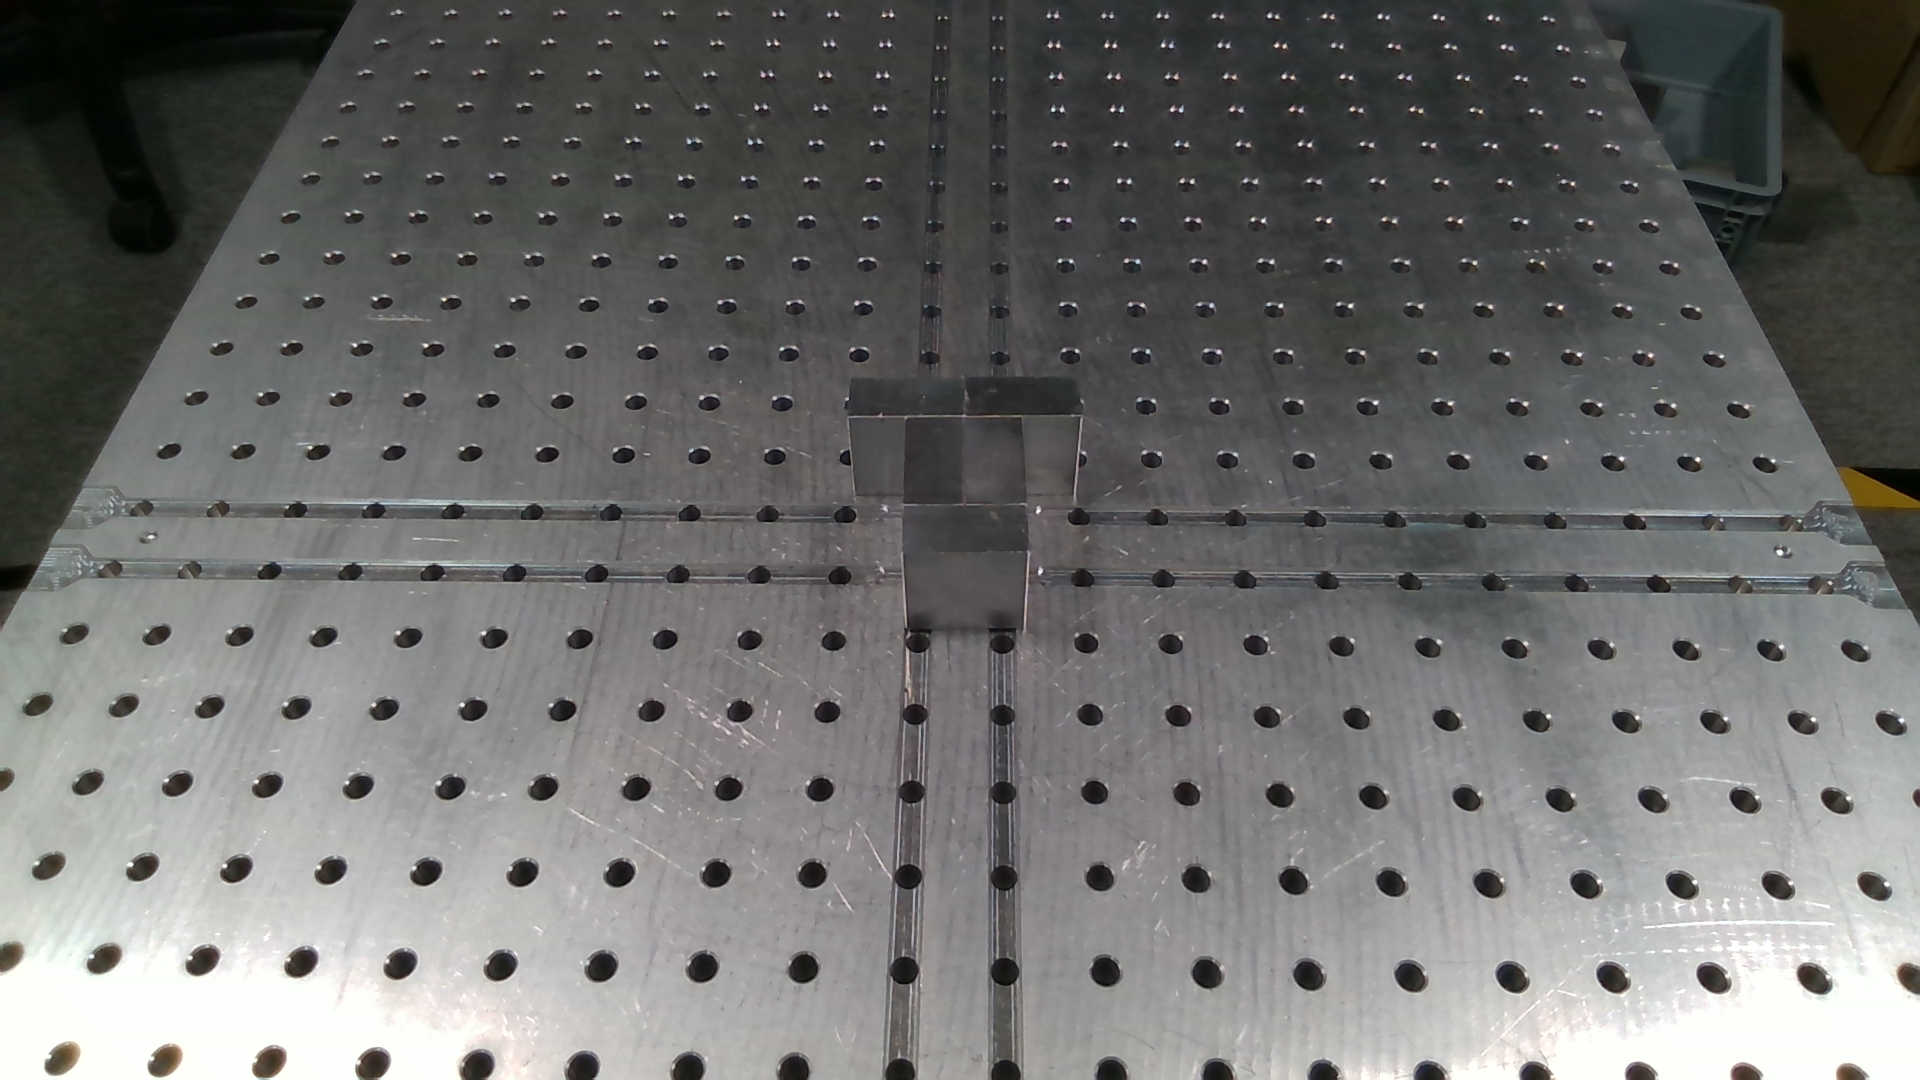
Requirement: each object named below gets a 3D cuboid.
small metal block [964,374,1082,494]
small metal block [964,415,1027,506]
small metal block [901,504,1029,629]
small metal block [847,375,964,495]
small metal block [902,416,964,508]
[{"bbox_3d":[0.027,-0.046,0.612,0.050,0.050,0.025,0,50,0],"label":"small metal block"},{"bbox_3d":[0.014,-0.018,0.588,0.025,0.050,0.050,0,50,0],"label":"small metal block"},{"bbox_3d":[0.002,0.012,0.563,0.050,0.050,0.025,0,50,0],"label":"small metal block"},{"bbox_3d":[-0.023,-0.046,0.612,0.050,0.050,0.025,0,50,0],"label":"small metal block"},{"bbox_3d":[-0.011,-0.018,0.588,0.025,0.050,0.050,0,50,0],"label":"small metal block"}]
